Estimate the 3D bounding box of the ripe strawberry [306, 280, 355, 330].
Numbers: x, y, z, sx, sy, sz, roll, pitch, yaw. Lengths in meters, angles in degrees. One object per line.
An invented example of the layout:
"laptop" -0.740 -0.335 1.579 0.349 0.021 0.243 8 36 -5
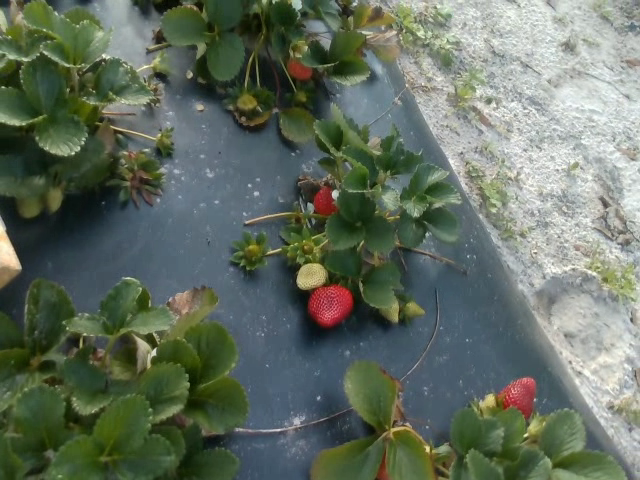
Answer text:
"ripe strawberry" 0.007 0.073 0.643 0.051 0.048 0.055 -5 20 17
